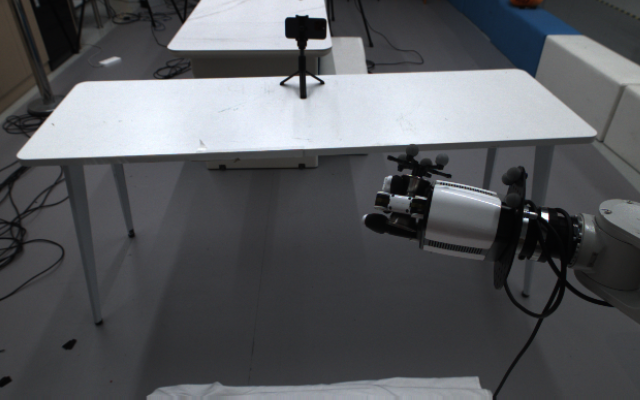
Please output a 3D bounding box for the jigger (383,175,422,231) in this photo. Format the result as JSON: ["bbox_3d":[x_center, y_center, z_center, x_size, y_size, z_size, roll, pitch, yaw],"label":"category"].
[{"bbox_3d":[0.119,0.004,0.645,0.043,0.071,0.043,19,-6,2],"label":"jigger"}]
